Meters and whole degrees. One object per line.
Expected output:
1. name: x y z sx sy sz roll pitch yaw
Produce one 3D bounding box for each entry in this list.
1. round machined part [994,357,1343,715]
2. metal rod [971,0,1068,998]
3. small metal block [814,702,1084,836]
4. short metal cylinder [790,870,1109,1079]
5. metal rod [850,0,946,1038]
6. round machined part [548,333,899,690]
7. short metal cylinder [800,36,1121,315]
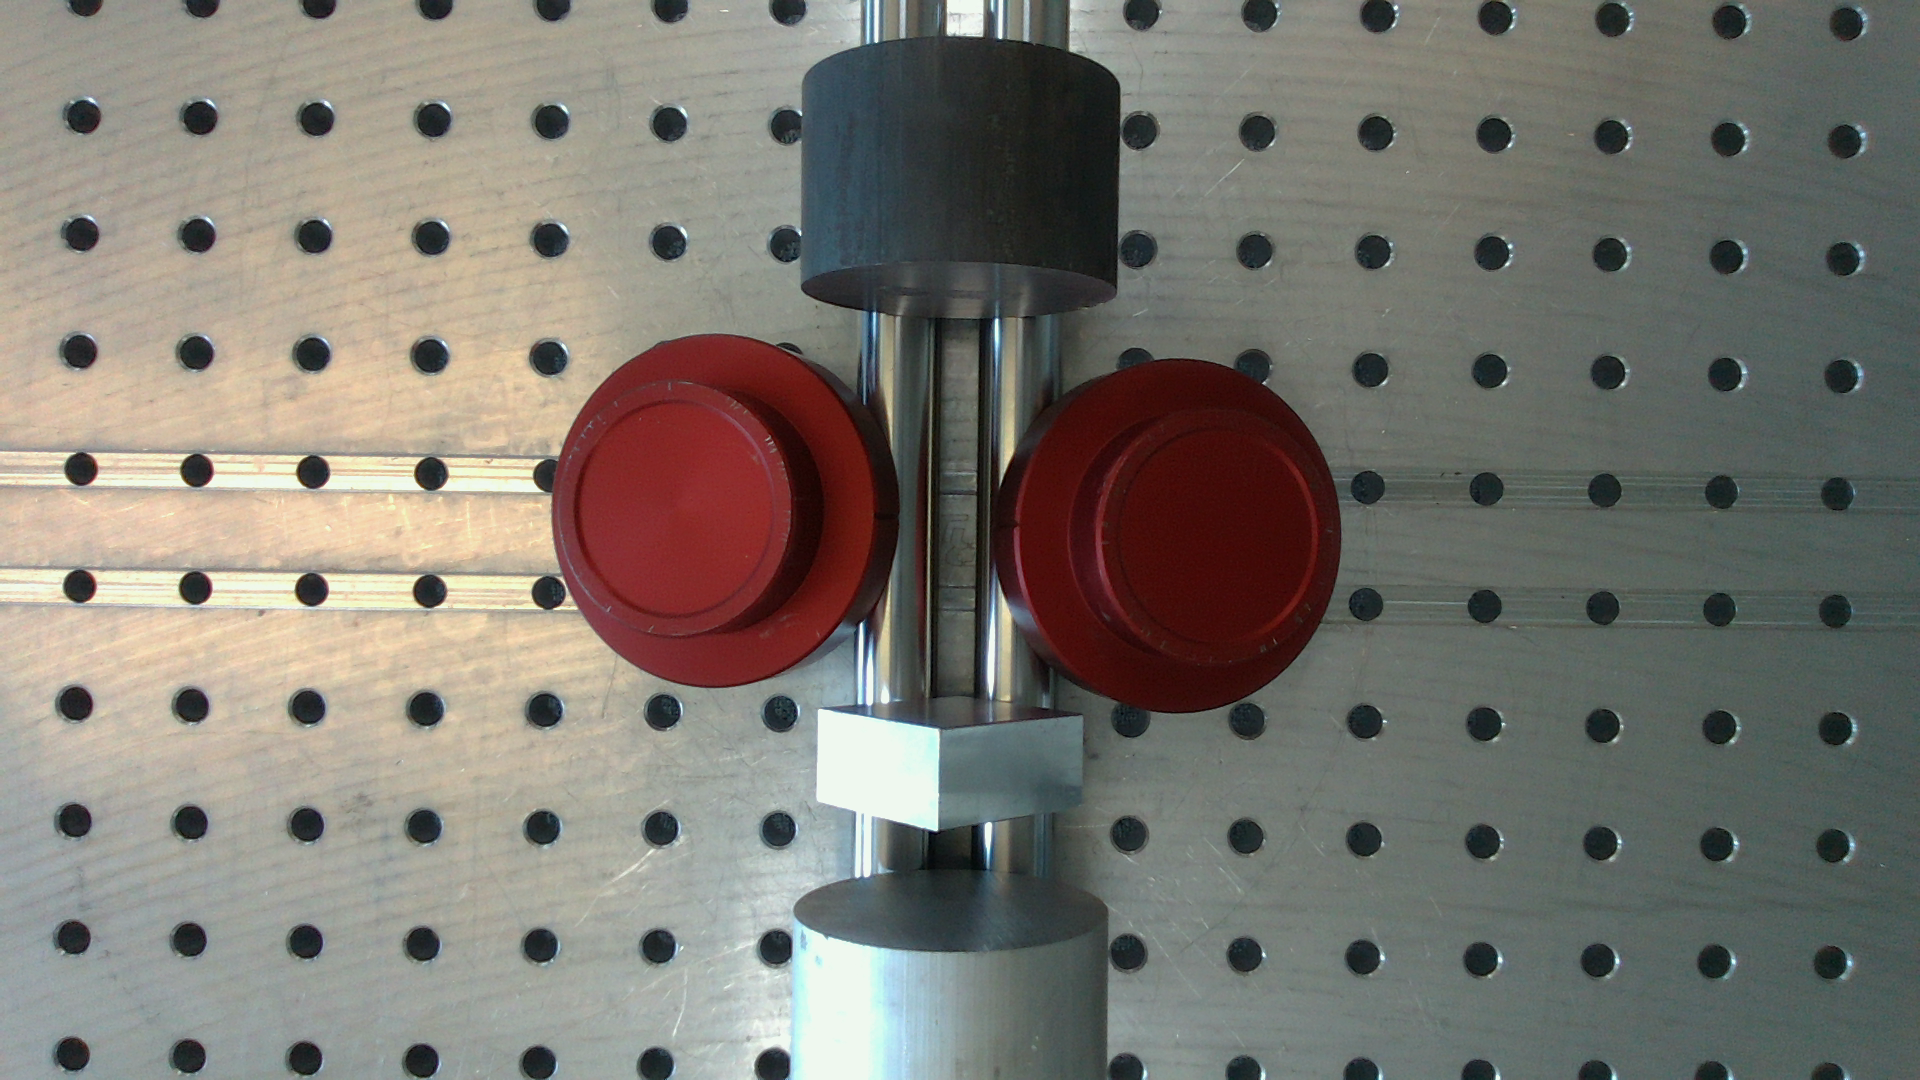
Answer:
1. round machined part: 0.061 -0.001 0.376 0.098 0.042 0.098 0 90 -15
2. metal rod: 0.017 -0.007 0.397 0.025 0.025 0.300 1 90 0
3. small metal block: -0.003 0.058 0.362 0.050 0.050 0.025 1 90 -42
4. short metal cylinder: -0.003 0.118 0.349 0.080 0.080 0.050 1 90 0
5. metal rod: -0.018 -0.005 0.397 0.025 0.025 0.300 1 90 0
6. round machined part: -0.069 -0.008 0.376 0.098 0.042 0.098 0 90 14
7. short metal cylinder: 0.000 -0.088 0.348 0.080 0.080 0.050 1 90 0
